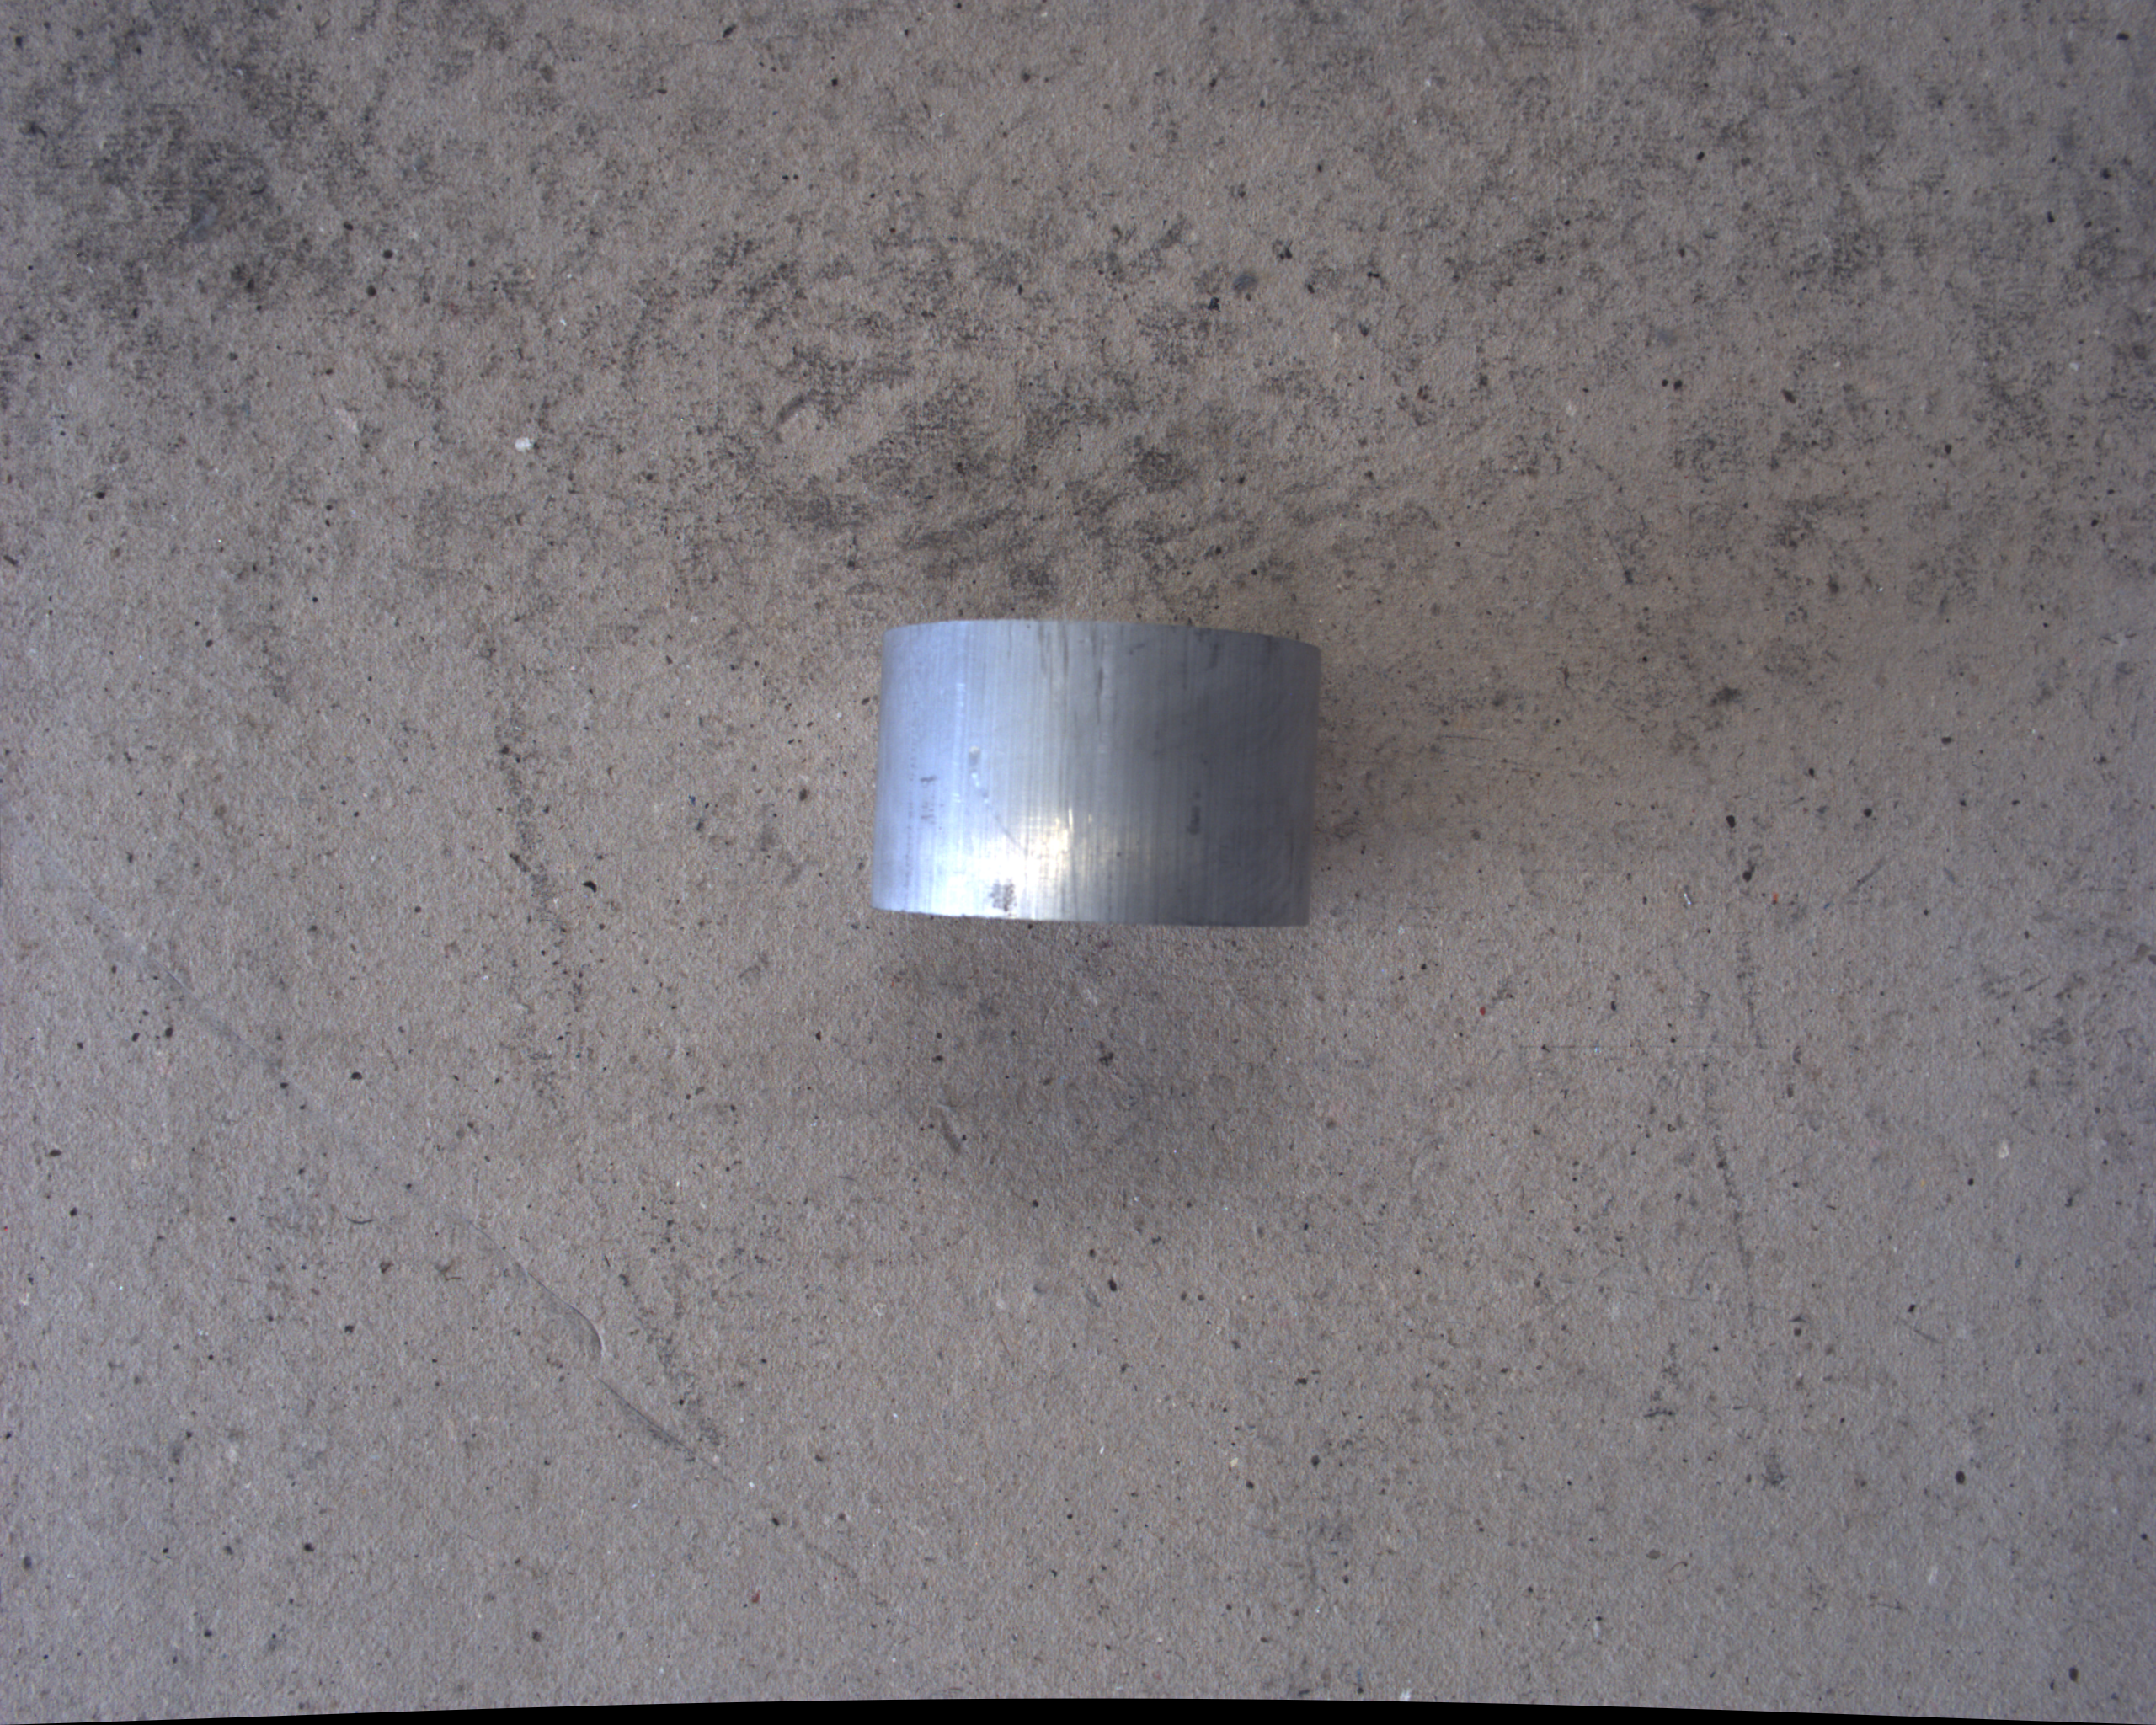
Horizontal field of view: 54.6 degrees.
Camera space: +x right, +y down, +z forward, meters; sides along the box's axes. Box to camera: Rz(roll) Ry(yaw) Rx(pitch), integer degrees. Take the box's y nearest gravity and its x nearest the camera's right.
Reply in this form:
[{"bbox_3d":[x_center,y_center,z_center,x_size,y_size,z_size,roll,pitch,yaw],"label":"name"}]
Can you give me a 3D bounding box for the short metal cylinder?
[{"bbox_3d":[0.003,-0.015,0.384,0.080,0.080,0.050,2,90,0],"label":"short metal cylinder"}]
